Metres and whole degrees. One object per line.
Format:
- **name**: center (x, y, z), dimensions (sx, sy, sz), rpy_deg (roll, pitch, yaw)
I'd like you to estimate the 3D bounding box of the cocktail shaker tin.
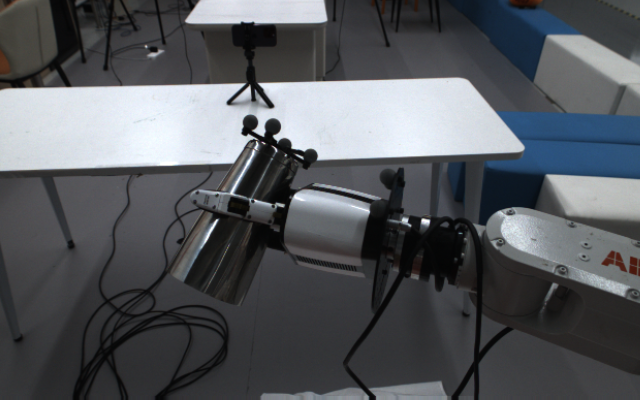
- **cocktail shaker tin**: center (-0.088, 0.019, 0.547), dimensions (0.093, 0.093, 0.170), rpy_deg (21, 81, 25)
